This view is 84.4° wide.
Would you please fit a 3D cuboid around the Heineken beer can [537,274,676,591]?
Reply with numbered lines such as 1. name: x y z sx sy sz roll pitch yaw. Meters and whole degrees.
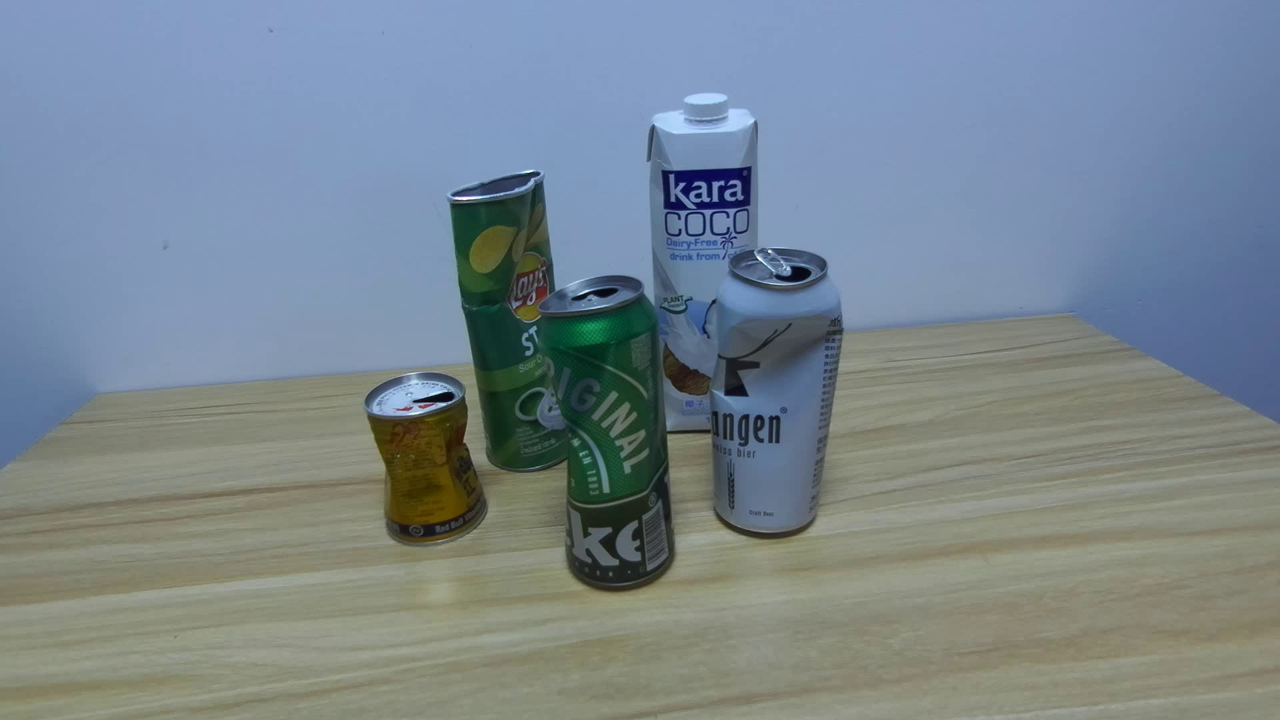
1. Heineken beer can: -0.017 0.043 0.390 0.068 0.168 0.069 -19 25 -28

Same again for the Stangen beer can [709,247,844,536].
1. Stangen beer can: 0.077 0.021 0.416 0.070 0.173 0.070 -22 32 -34

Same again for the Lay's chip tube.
1. Lay's chip tube: -0.089 -0.026 0.507 0.069 0.200 0.074 -9 29 -12

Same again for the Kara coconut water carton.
1. Kara coconut water carton: 0.049 -0.070 0.528 0.077 0.245 0.075 -1 27 5

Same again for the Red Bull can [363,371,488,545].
1. Red Bull can: -0.136 0.062 0.449 0.072 0.092 0.072 -2 24 1
